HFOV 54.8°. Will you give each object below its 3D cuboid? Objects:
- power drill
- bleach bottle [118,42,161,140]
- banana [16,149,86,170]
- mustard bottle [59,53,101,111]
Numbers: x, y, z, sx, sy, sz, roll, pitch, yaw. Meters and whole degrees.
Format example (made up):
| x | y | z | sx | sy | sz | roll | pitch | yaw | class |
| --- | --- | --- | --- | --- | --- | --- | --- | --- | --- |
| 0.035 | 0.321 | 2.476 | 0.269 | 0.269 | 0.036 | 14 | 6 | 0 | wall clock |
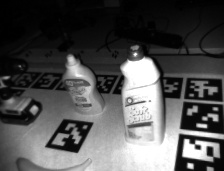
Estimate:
| x | y | z | sx | sy | sz | roll | pitch | yaw | class |
| --- | --- | --- | --- | --- | --- | --- | --- | --- | --- |
| -0.293 | -0.011 | 0.628 | 0.183 | 0.189 | 0.057 | -4 | 40 | 19 | power drill |
| 0.054 | 0.019 | 0.487 | 0.101 | 0.253 | 0.068 | 9 | 45 | 26 | bleach bottle |
| -0.152 | 0.180 | 0.511 | 0.196 | 0.039 | 0.074 | -3 | 42 | 18 | banana |
| -0.097 | -0.009 | 0.616 | 0.095 | 0.193 | 0.058 | -2 | 41 | 13 | mustard bottle |
